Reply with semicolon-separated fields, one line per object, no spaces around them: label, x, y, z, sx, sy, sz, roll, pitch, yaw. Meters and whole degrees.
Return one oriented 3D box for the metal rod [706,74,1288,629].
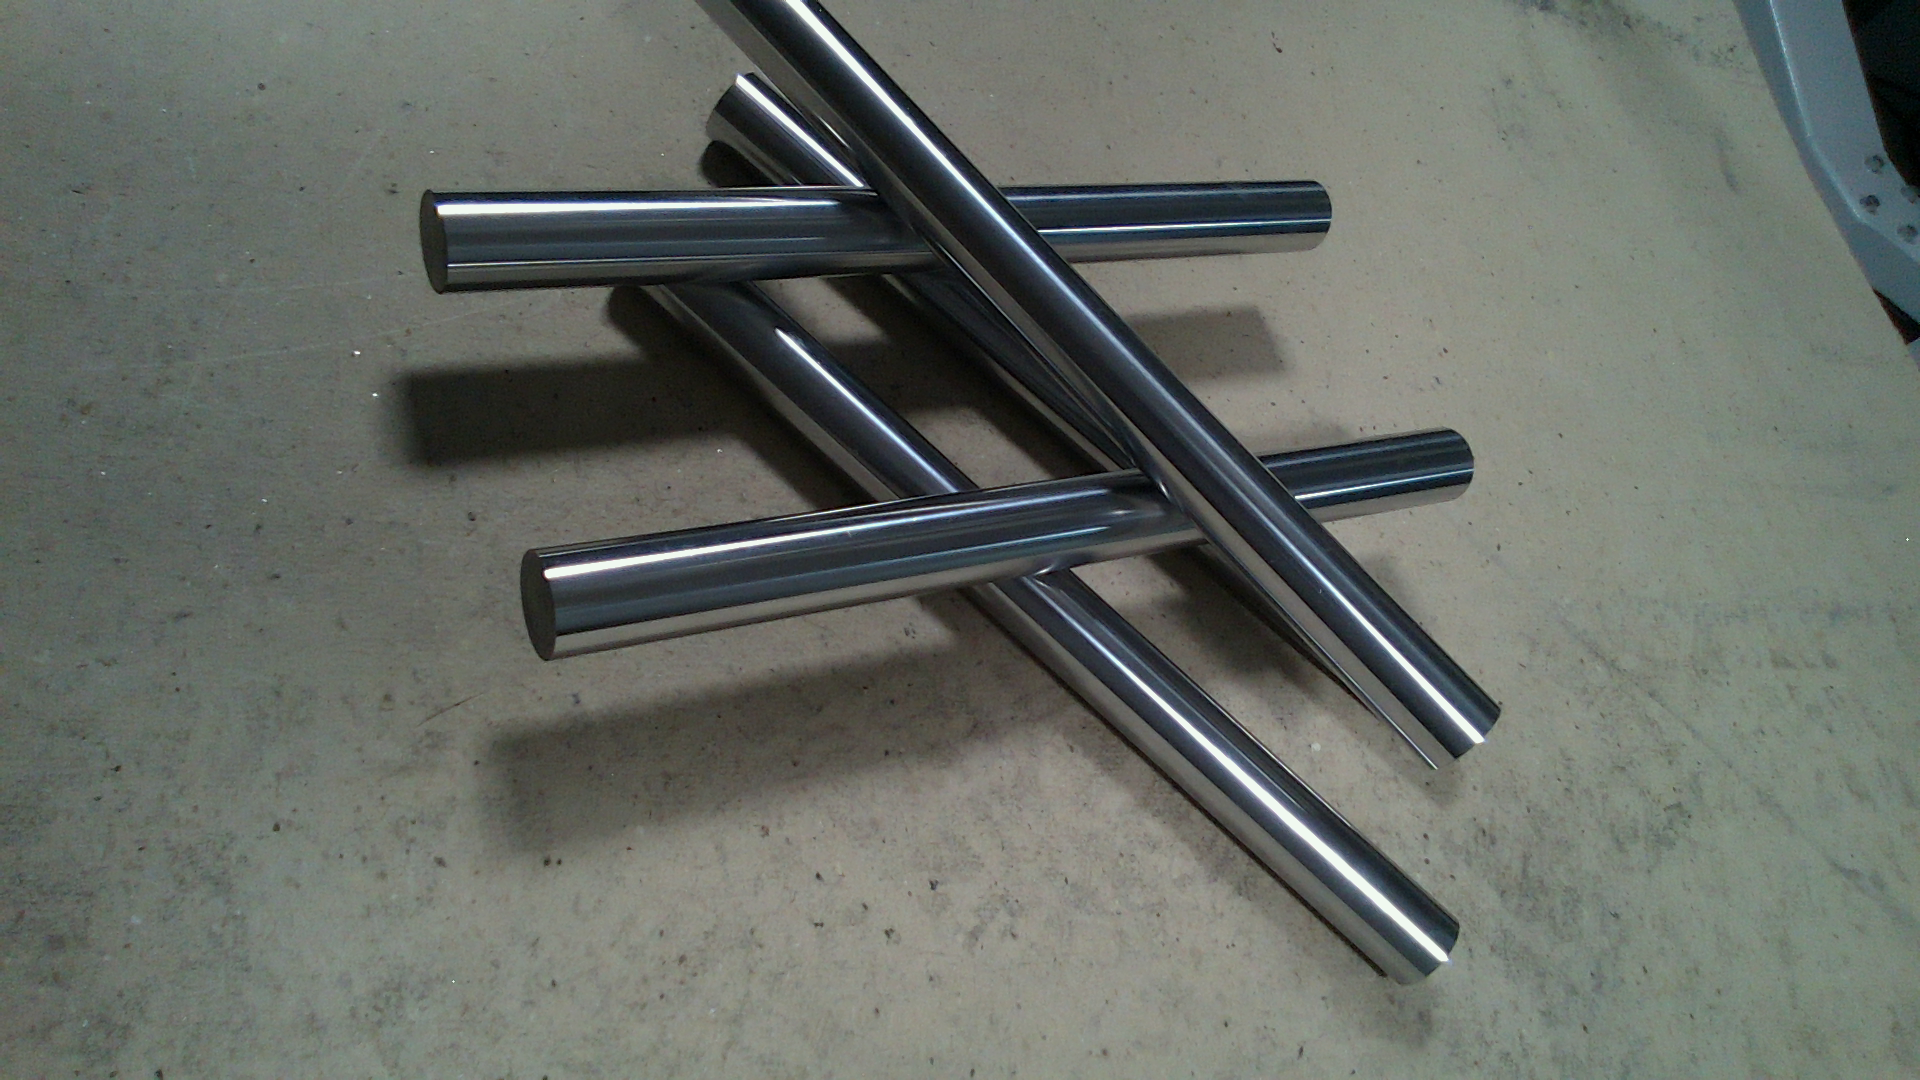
metal rod;0.042;-0.040;0.437;0.300;0.025;0.025;40;51;-1

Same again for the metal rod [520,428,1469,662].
metal rod;0.034;-0.006;0.380;0.301;0.025;0.025;-9;66;-32

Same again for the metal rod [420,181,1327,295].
metal rod;-0.003;-0.094;0.415;0.301;0.025;0.025;-10;67;-32

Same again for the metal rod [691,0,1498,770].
metal rod;0.031;-0.057;0.377;0.300;0.025;0.025;47;51;4

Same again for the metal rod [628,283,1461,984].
metal rod;0.021;0.015;0.391;0.300;0.025;0.025;42;51;1
